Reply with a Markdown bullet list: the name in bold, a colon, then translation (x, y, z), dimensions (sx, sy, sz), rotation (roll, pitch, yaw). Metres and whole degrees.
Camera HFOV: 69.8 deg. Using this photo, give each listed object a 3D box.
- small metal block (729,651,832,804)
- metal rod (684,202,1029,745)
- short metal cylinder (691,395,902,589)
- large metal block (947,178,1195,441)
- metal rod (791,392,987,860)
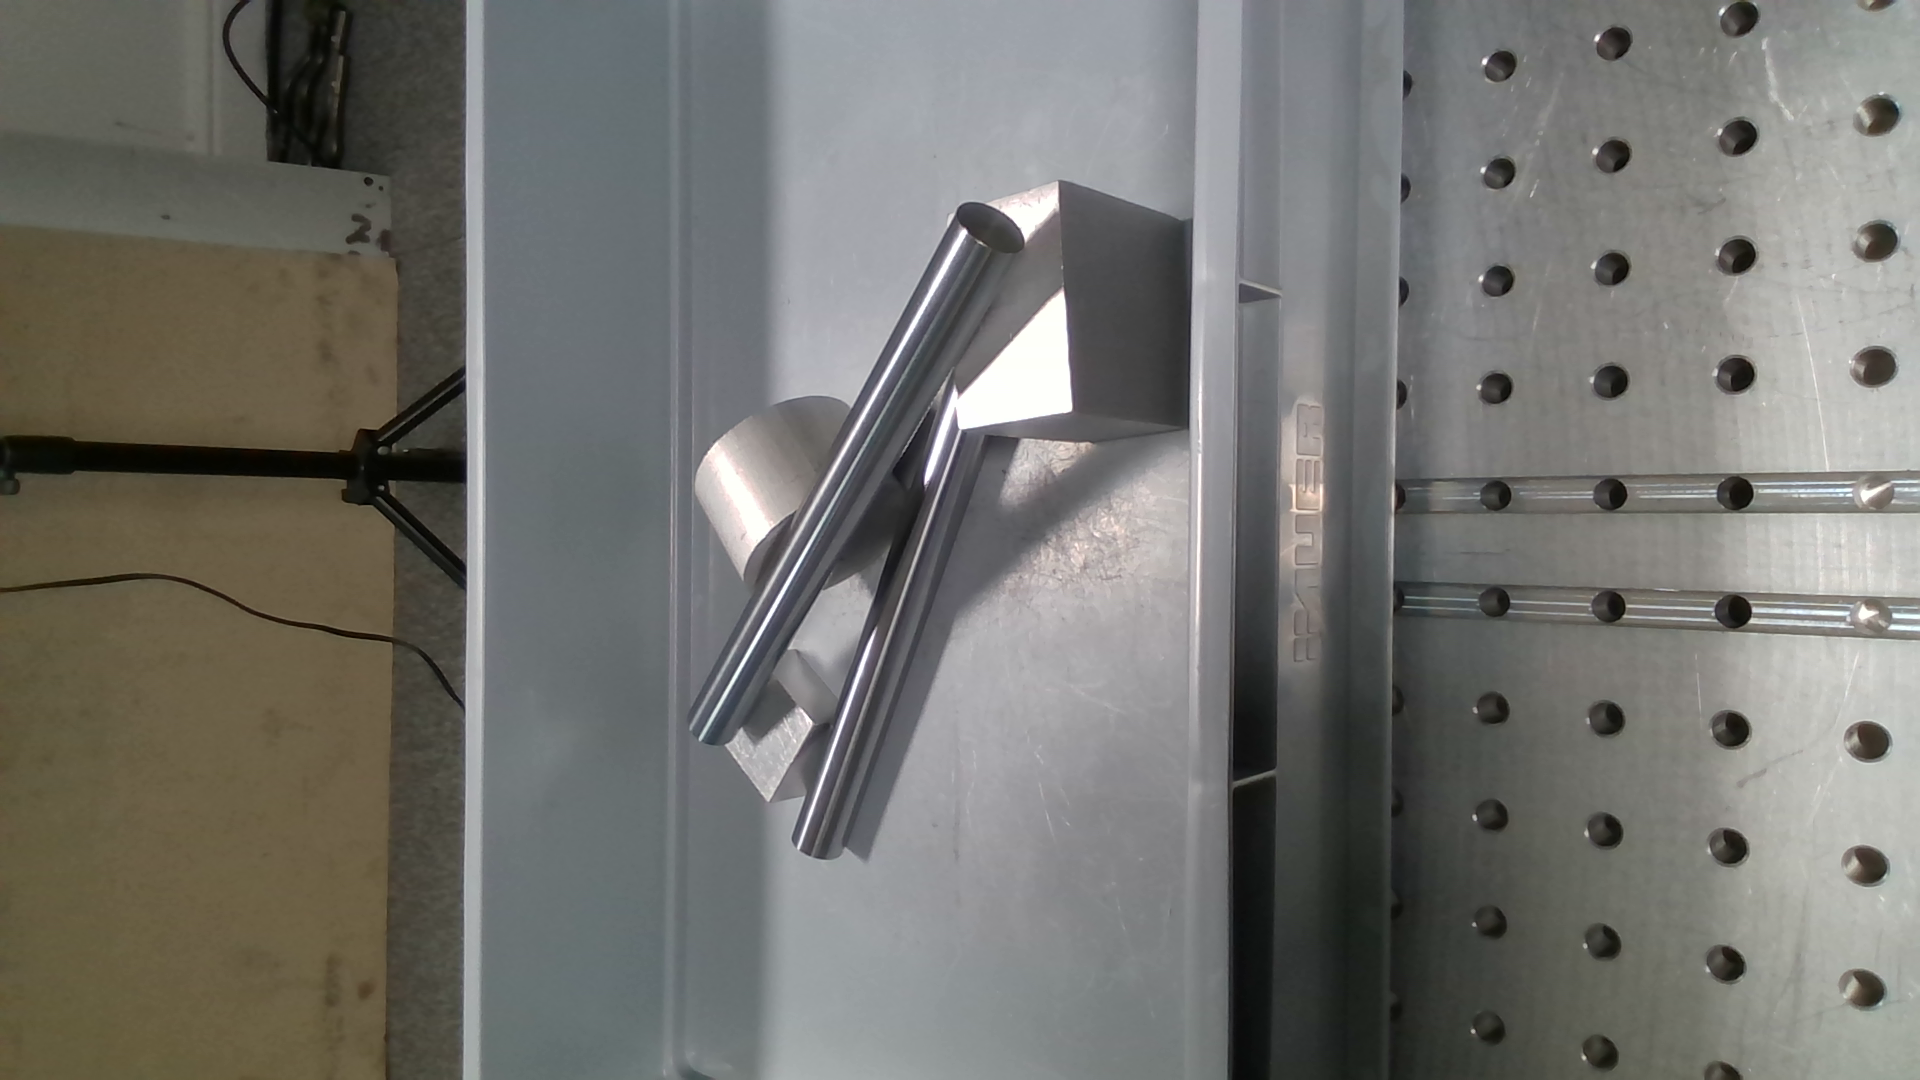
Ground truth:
- **small metal block**: translation (-0.085, 0.088, 0.654), dimensions (0.050, 0.025, 0.050), rotation (46, 118, 30)
- **metal rod**: translation (-0.053, -0.008, 0.549), dimensions (0.025, 0.025, 0.301), rotation (57, 136, 24)
- **short metal cylinder**: translation (-0.070, -0.018, 0.603), dimensions (0.080, 0.080, 0.050), rotation (-48, 62, 30)
- **large metal block**: translation (0.042, -0.081, 0.509), dimensions (0.050, 0.080, 0.080), rotation (-5, 87, 40)
- **metal rod**: translation (-0.018, 0.005, 0.596), dimensions (0.025, 0.025, 0.300), rotation (32, 110, 36)
